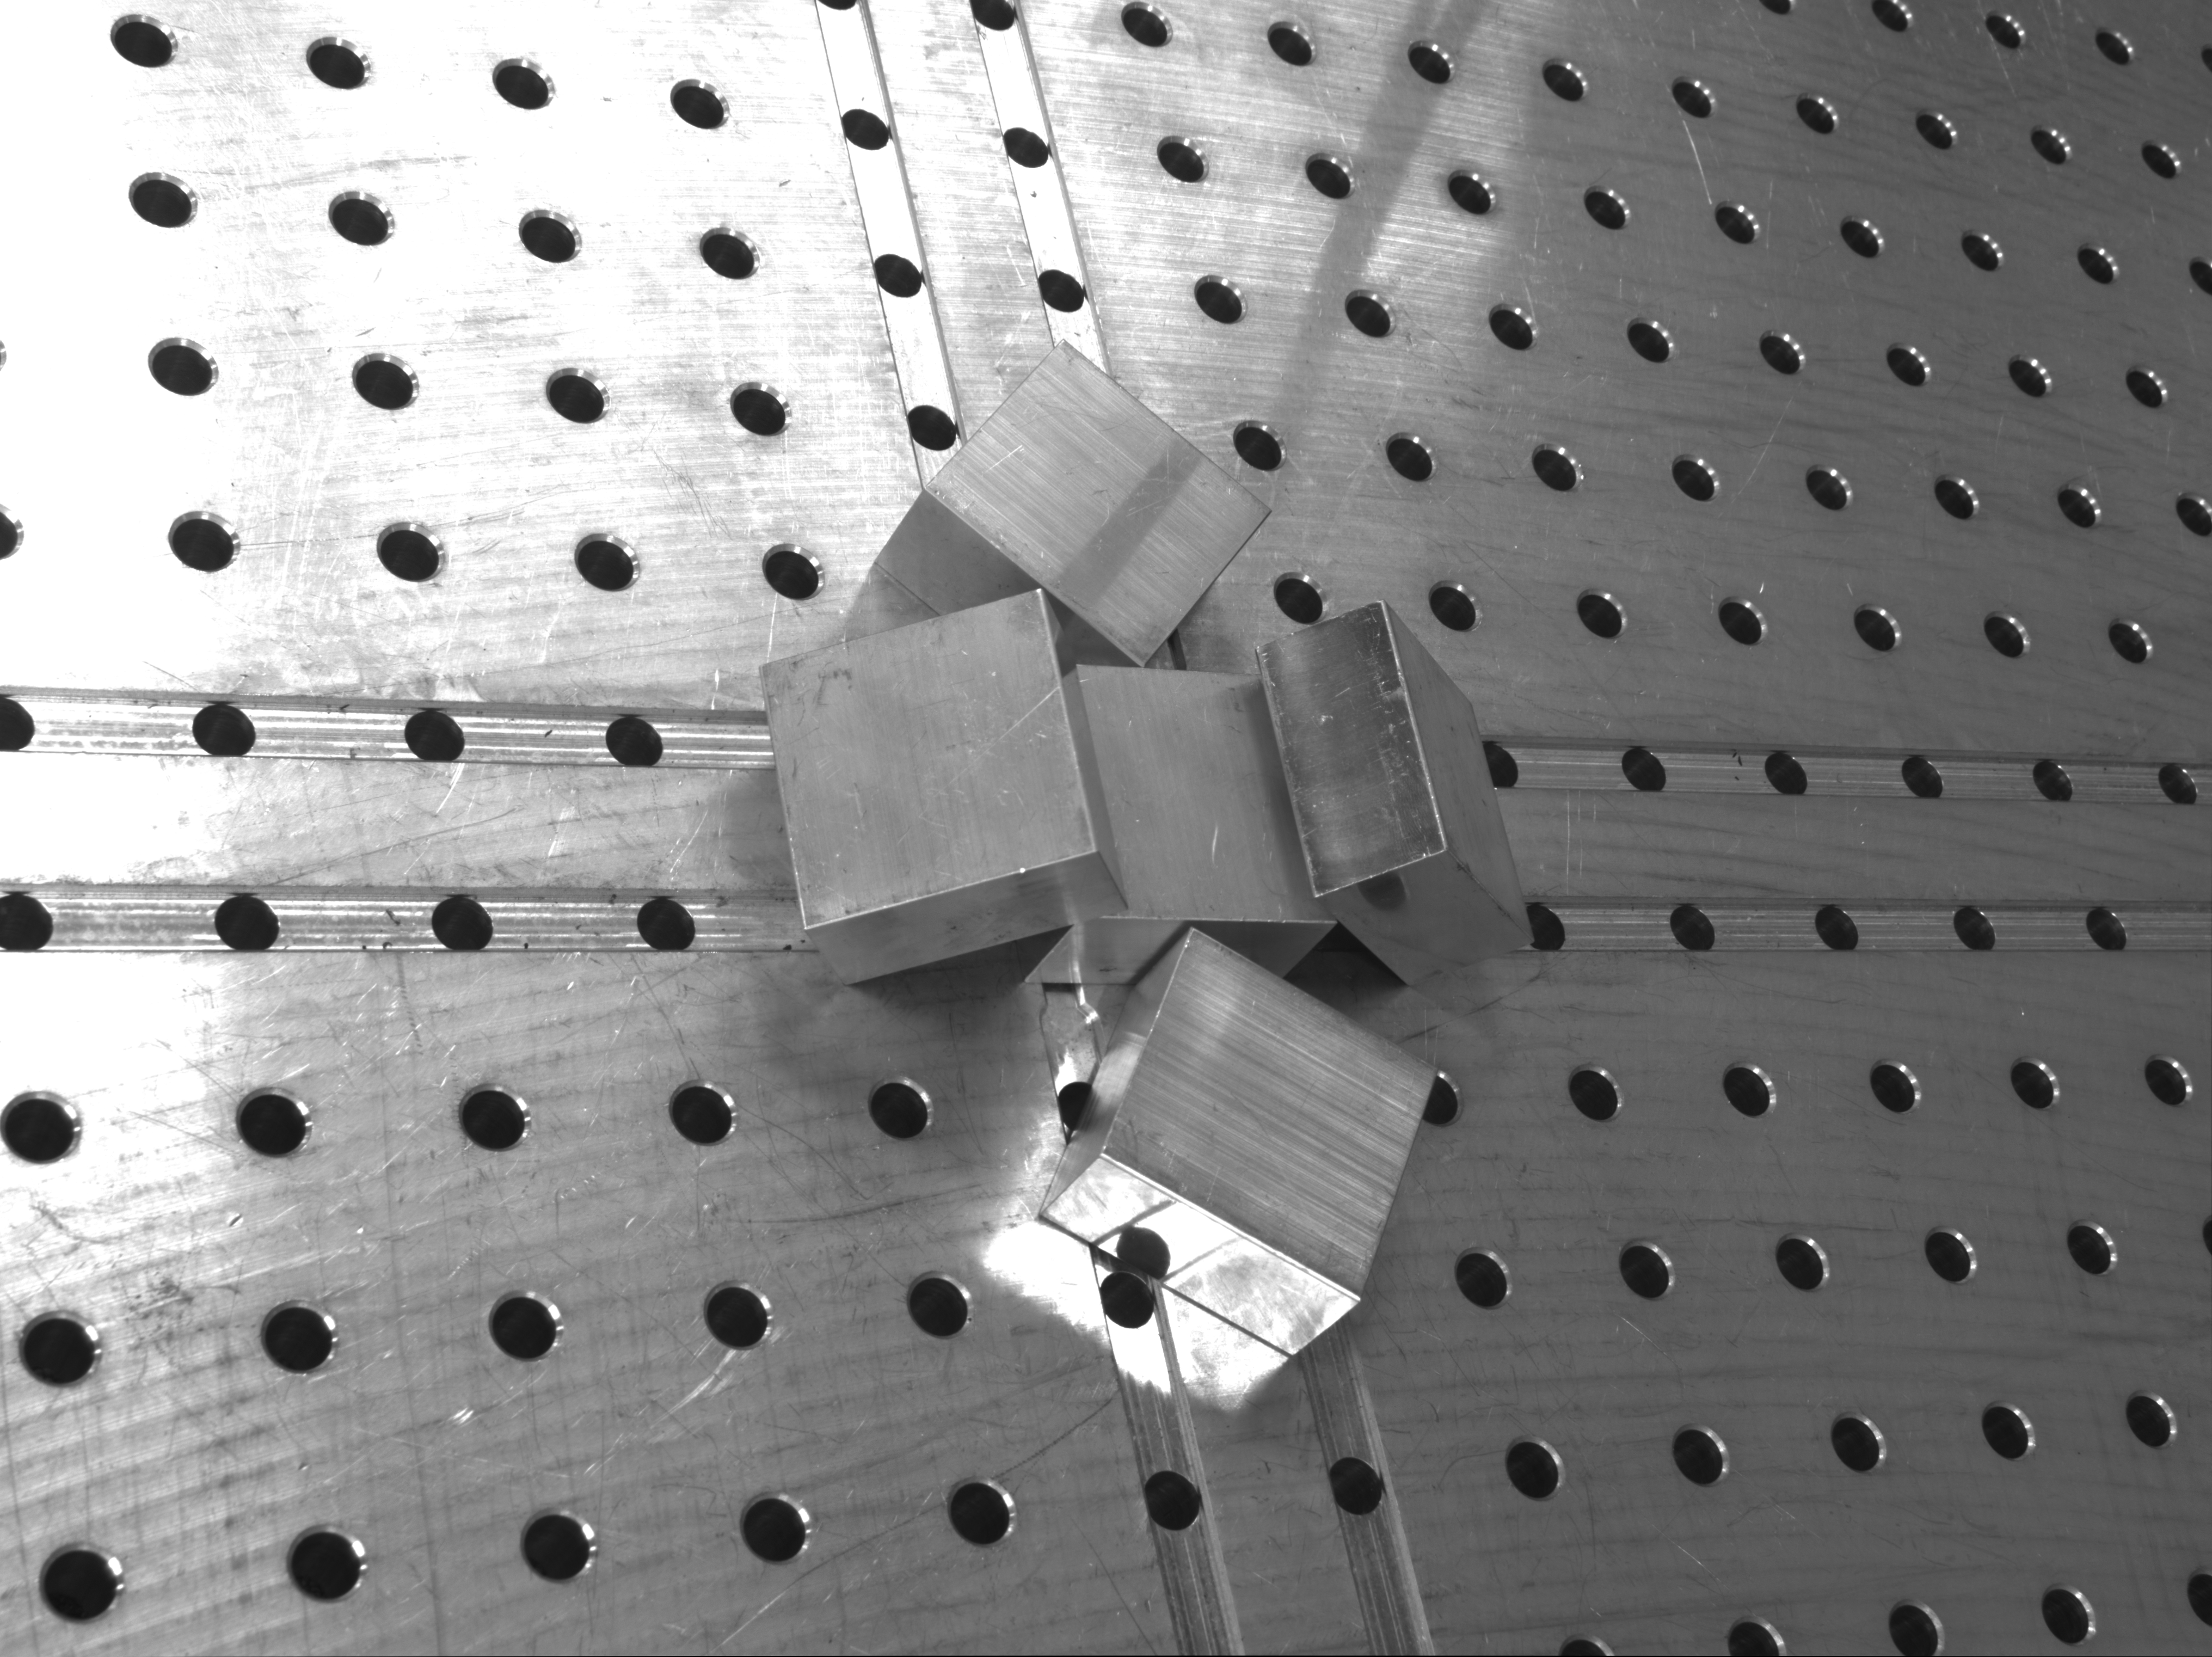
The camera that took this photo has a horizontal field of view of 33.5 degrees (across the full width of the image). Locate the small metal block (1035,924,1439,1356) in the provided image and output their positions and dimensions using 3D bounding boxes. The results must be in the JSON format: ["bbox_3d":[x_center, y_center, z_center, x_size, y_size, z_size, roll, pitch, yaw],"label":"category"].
[{"bbox_3d":[0.023,0.053,0.622,0.050,0.025,0.050,29,52,-8],"label":"small metal block"}]

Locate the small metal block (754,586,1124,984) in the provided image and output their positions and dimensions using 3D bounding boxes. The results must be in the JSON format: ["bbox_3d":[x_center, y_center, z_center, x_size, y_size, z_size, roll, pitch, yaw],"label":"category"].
[{"bbox_3d":[-0.028,-0.007,0.615,0.050,0.025,0.050,-14,65,6],"label":"small metal block"}]

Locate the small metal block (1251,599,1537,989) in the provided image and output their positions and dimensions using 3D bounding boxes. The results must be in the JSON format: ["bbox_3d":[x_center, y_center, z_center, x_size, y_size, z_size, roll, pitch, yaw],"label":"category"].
[{"bbox_3d":[0.052,-0.005,0.656,0.050,0.025,0.050,40,34,-58],"label":"small metal block"}]

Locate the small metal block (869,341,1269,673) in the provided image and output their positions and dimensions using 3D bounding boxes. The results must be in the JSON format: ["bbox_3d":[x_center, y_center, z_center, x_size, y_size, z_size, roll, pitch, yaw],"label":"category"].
[{"bbox_3d":[-0.006,-0.053,0.671,0.050,0.025,0.050,39,50,-1],"label":"small metal block"}]

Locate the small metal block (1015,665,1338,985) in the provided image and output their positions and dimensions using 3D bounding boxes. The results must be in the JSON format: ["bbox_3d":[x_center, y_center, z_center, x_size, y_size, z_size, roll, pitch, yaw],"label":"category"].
[{"bbox_3d":[0.008,0.000,0.646,0.050,0.025,0.050,2,60,-27],"label":"small metal block"}]
